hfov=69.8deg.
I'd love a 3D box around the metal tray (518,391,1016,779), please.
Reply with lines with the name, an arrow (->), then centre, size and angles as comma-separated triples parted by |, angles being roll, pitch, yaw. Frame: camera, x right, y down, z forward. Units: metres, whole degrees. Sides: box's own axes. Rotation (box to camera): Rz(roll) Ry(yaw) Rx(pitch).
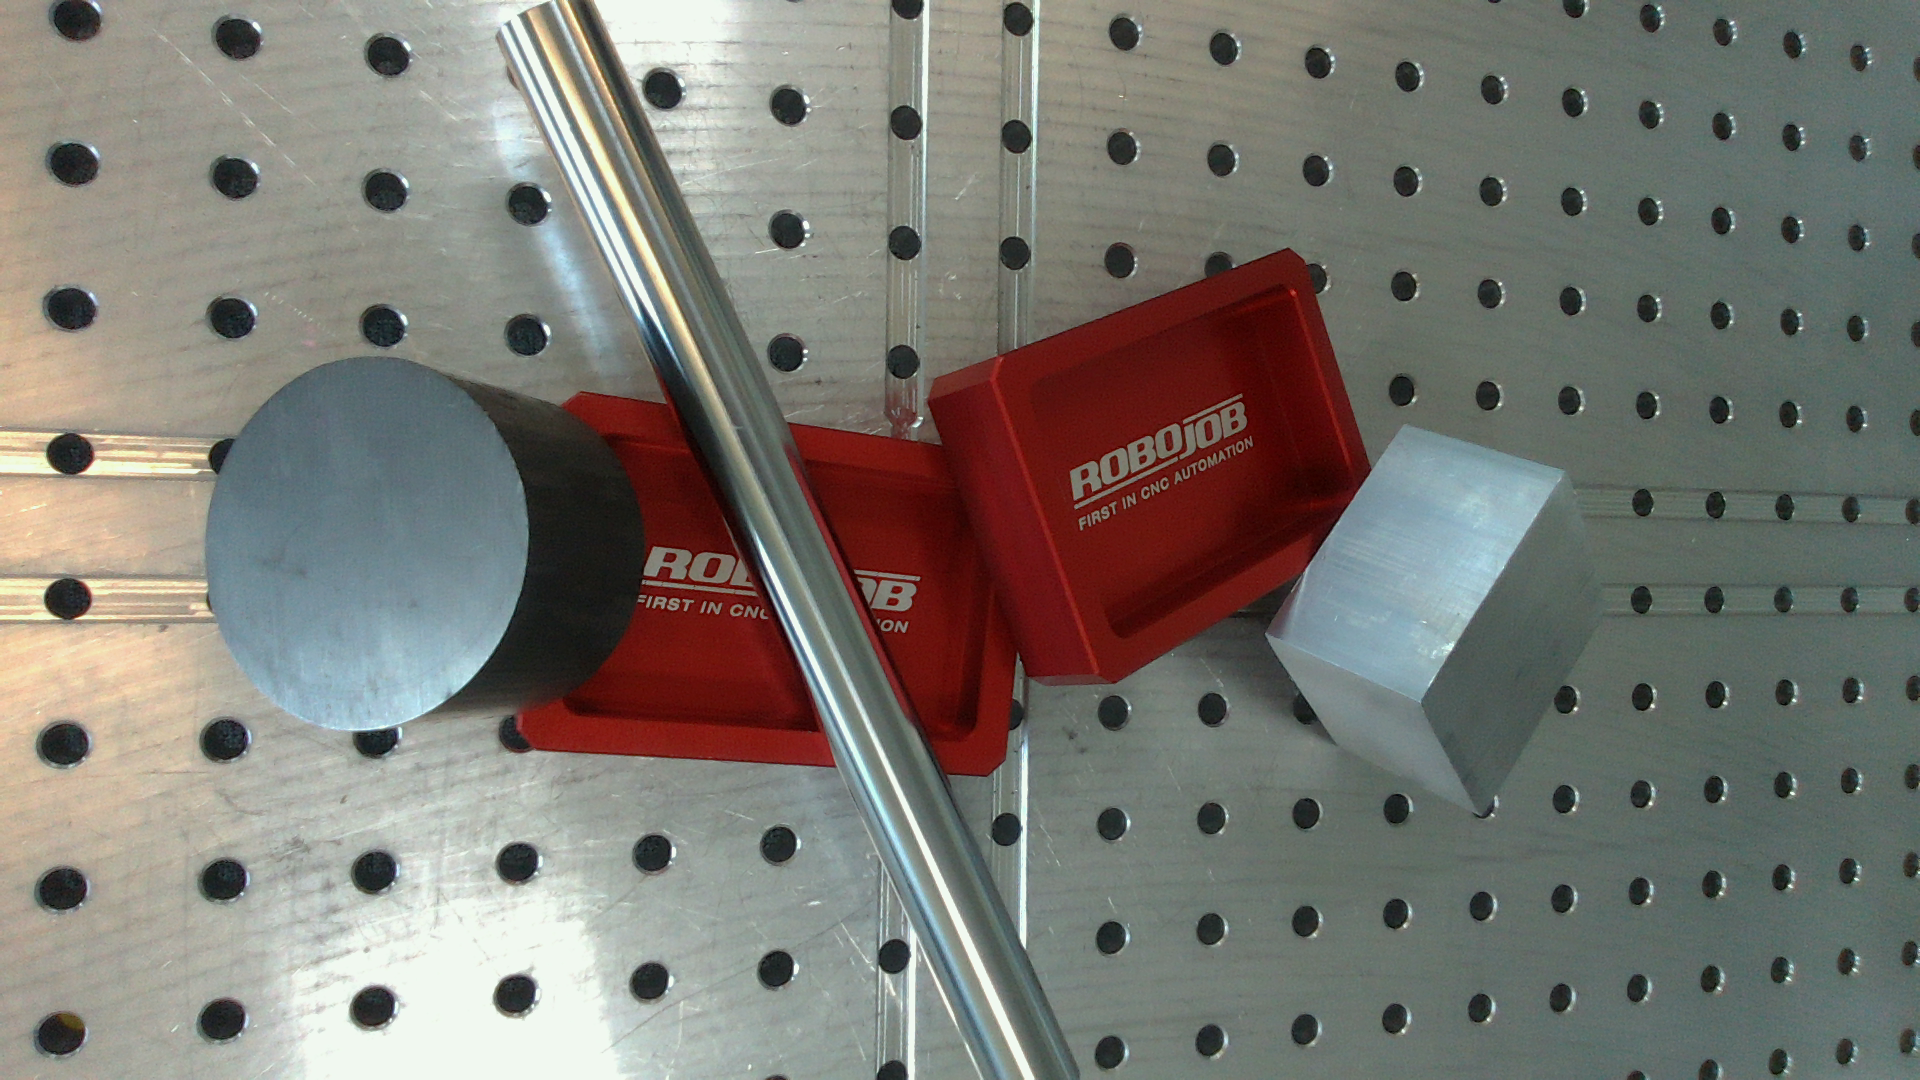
metal tray -> -0.048, 0.014, 0.375 | 0.130, 0.030, 0.090 | 7, 88, -20

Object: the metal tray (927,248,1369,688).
metal tray -> 0.061, -0.023, 0.396 | 0.130, 0.030, 0.090 | -25, 99, -35

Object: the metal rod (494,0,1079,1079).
metal rod -> -0.039, 0.012, 0.350 | 0.025, 0.025, 0.300 | -27, 99, -18

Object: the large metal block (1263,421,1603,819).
large metal block -> 0.146, 0.025, 0.417 | 0.080, 0.050, 0.080 | -53, 137, -12

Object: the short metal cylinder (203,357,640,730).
short metal cylinder -> -0.123, 0.002, 0.319 | 0.080, 0.050, 0.080 | -1, 86, 15
